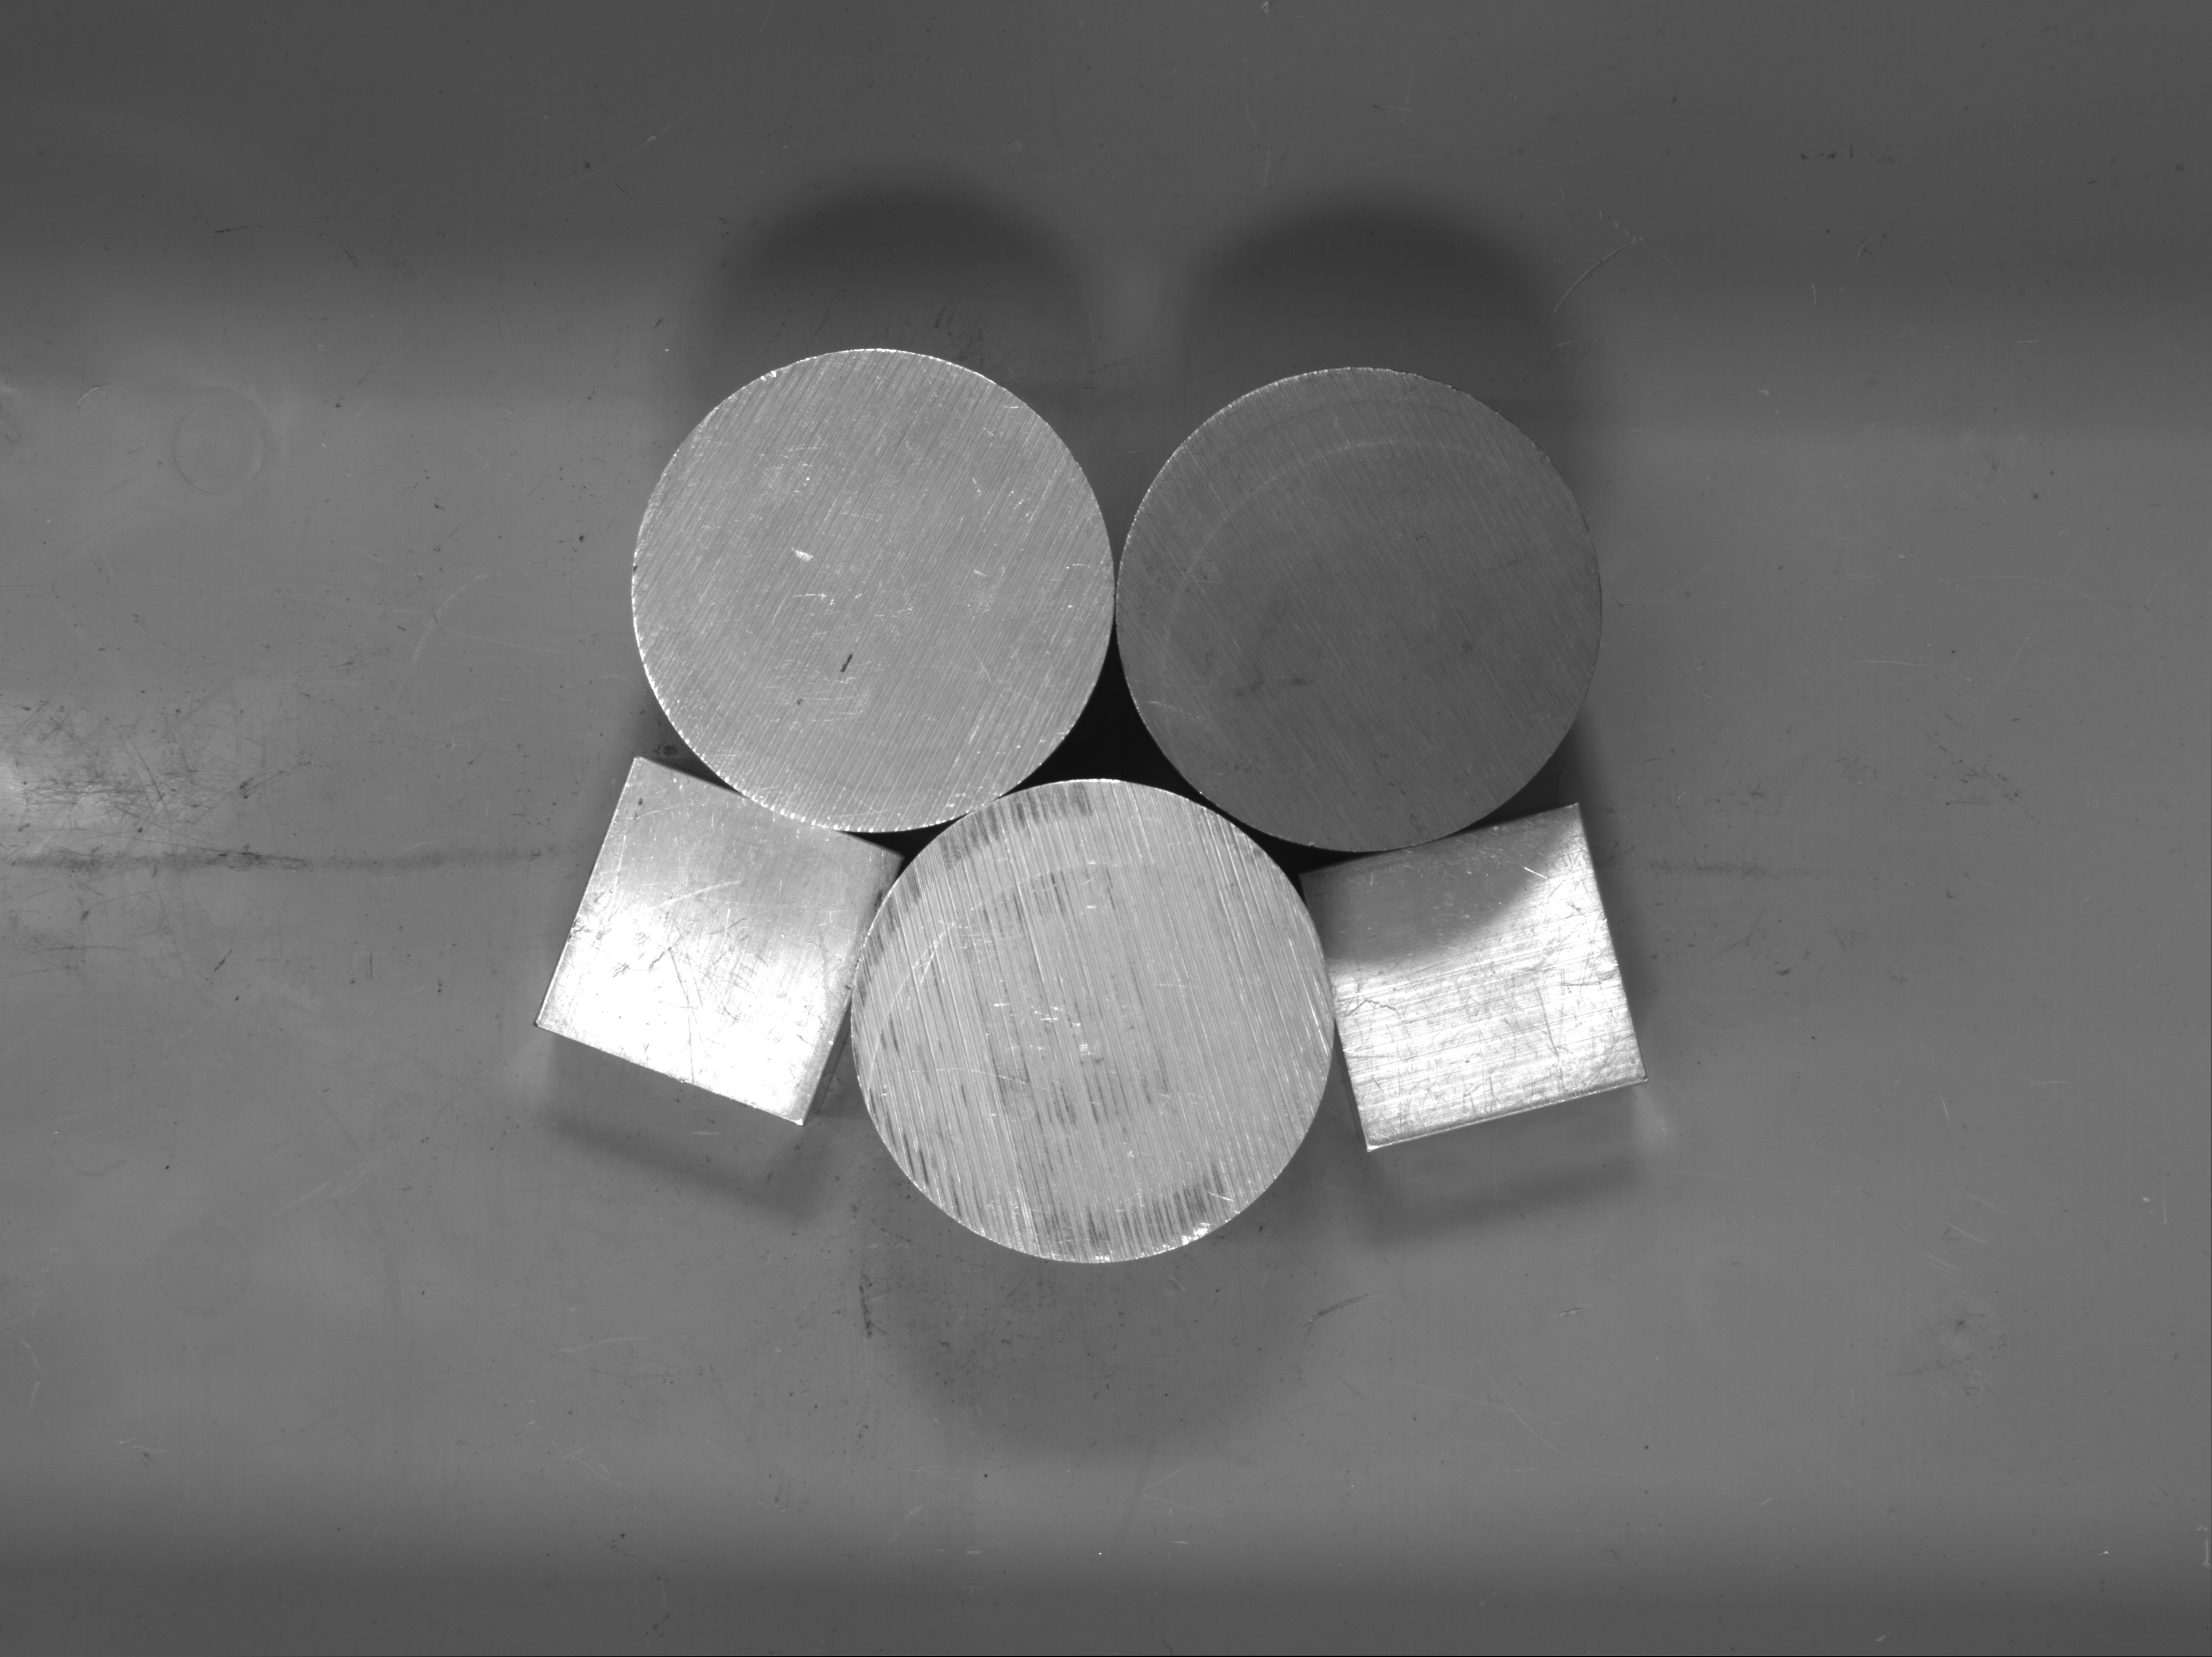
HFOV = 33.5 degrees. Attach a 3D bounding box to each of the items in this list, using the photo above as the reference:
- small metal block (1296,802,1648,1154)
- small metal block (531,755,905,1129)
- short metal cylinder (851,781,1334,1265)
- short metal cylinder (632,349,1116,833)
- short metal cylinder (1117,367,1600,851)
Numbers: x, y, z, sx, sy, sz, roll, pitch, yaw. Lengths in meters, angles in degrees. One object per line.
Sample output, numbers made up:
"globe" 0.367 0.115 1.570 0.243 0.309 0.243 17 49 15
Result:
"small metal block" 0.063 0.026 0.645 0.050 0.025 0.050 -14 90 0
"small metal block" -0.067 0.020 0.645 0.050 0.025 0.050 21 90 0
"short metal cylinder" -0.002 0.032 0.632 0.080 0.050 0.080 0 90 0
"short metal cylinder" -0.038 -0.039 0.632 0.080 0.050 0.080 0 90 0
"short metal cylinder" 0.042 -0.036 0.632 0.080 0.050 0.080 0 90 0
